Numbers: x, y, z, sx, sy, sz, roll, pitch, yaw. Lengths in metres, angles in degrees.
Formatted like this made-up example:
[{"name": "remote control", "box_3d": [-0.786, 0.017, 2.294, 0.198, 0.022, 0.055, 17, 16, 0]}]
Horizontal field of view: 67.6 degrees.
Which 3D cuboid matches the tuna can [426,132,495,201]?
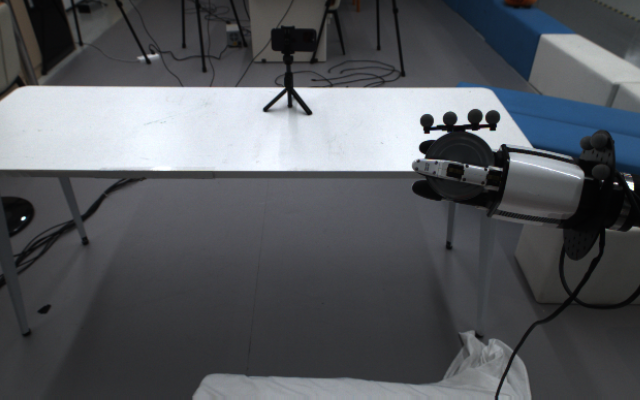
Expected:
[{"name": "tuna can", "box_3d": [0.178, -0.046, 0.618, 0.085, 0.085, 0.034, 15, 10, 18]}]
